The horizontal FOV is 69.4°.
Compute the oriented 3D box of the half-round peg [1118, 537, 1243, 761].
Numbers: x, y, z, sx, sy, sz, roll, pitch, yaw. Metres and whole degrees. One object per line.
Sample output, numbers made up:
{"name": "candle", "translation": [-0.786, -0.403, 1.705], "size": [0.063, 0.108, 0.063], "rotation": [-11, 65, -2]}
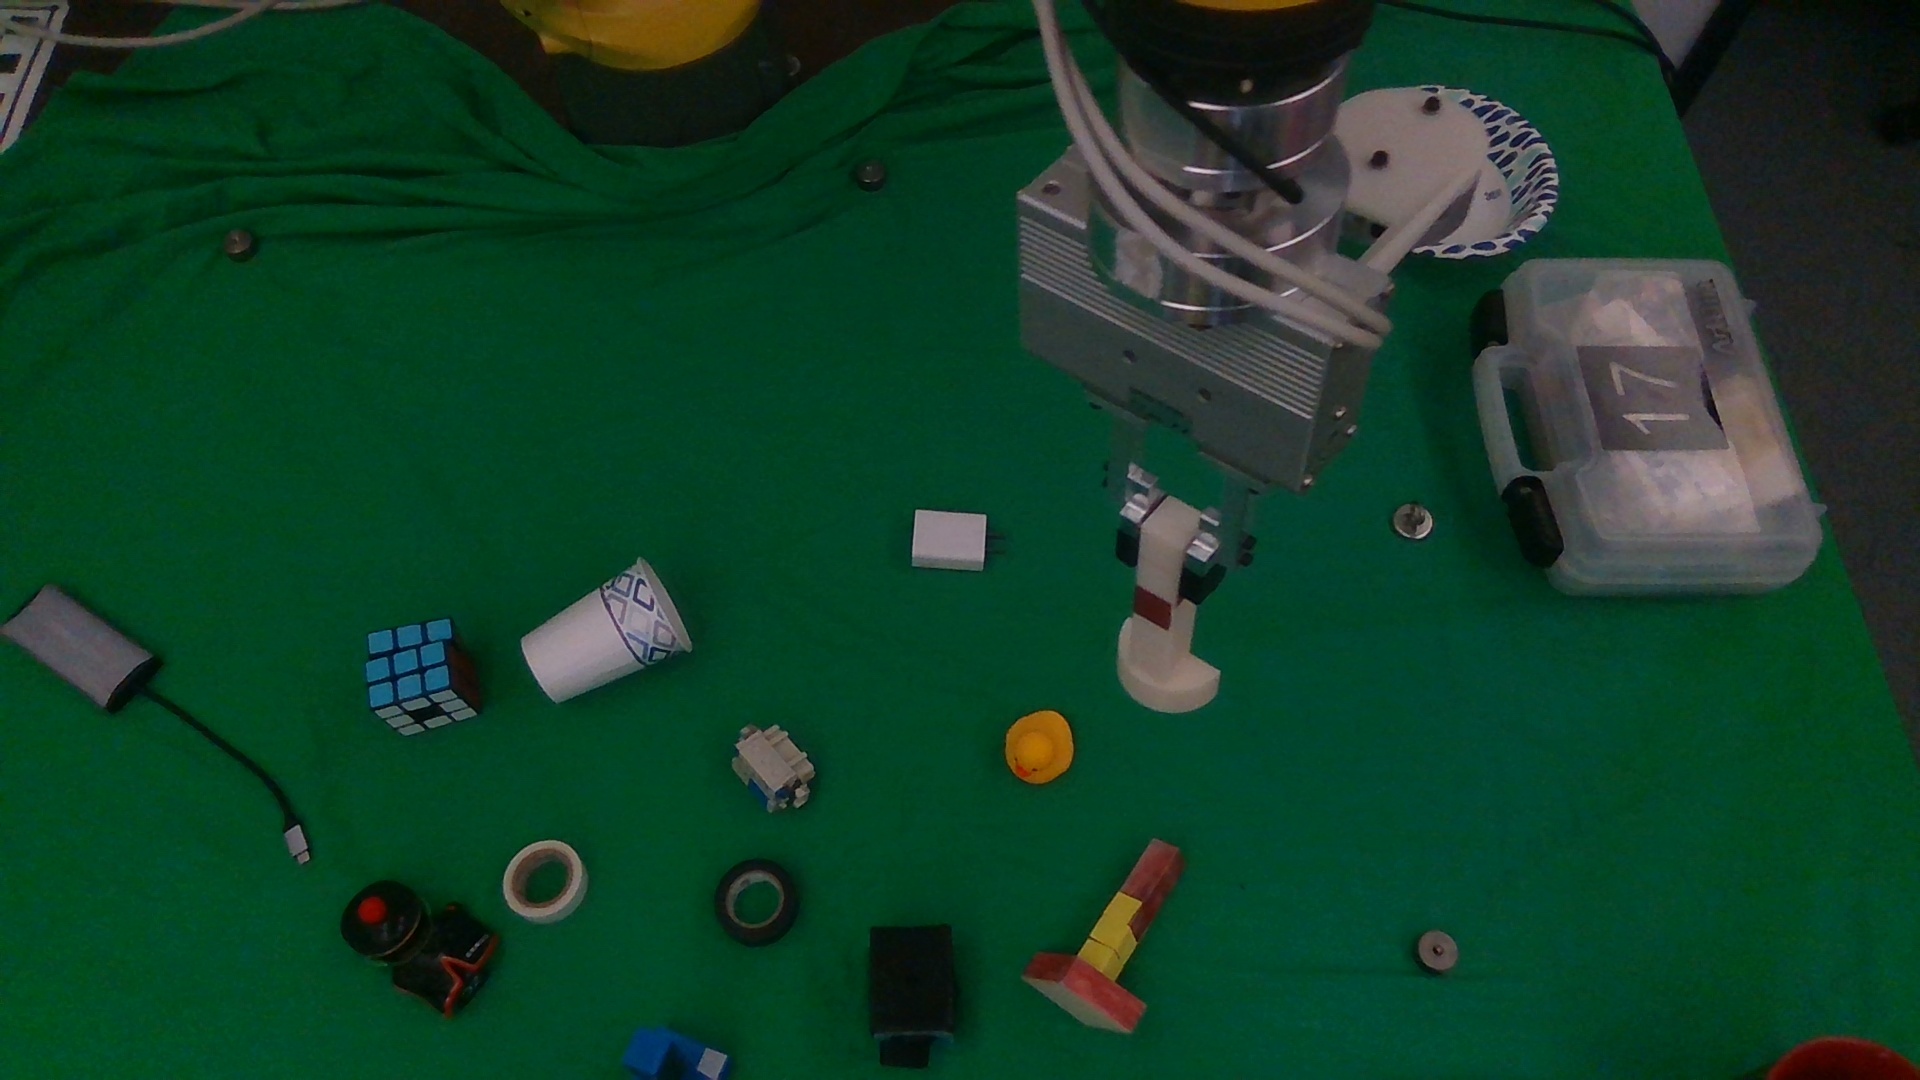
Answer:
{"name": "half-round peg", "translation": [0.094, 0.046, 0.573], "size": [0.054, 0.122, 0.031], "rotation": [22, 52, 20]}

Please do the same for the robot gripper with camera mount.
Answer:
{"name": "robot gripper with camera mount", "translation": [0.119, -0.067, 0.518], "size": [0.119, 0.158, 0.193], "rotation": [30, 60, 27]}
